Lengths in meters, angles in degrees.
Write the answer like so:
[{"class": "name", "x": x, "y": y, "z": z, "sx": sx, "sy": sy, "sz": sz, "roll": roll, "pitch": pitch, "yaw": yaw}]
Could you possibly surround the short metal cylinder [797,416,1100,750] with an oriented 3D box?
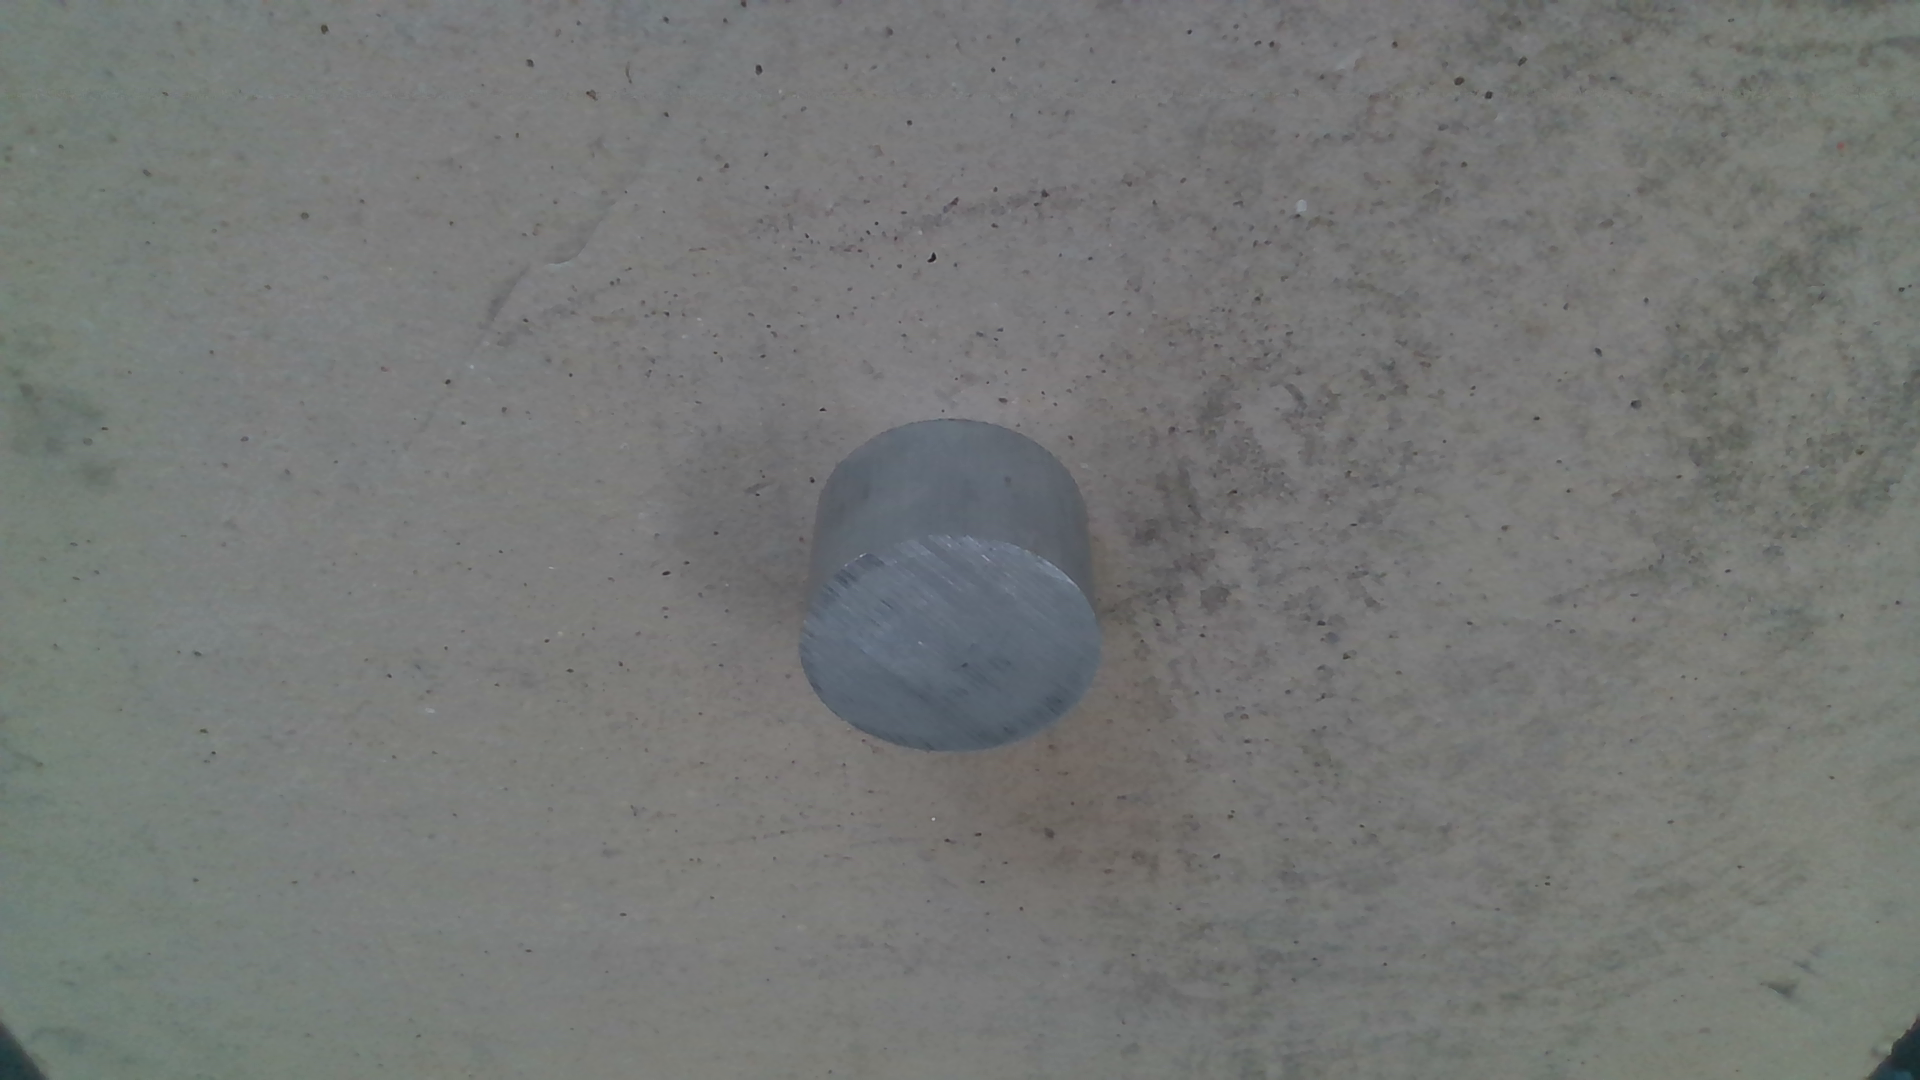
[{"class": "short metal cylinder", "x": -0.003, "y": 0.013, "z": 0.383, "sx": 0.080, "sy": 0.050, "sz": 0.080, "roll": 0, "pitch": 131, "yaw": 0}]
